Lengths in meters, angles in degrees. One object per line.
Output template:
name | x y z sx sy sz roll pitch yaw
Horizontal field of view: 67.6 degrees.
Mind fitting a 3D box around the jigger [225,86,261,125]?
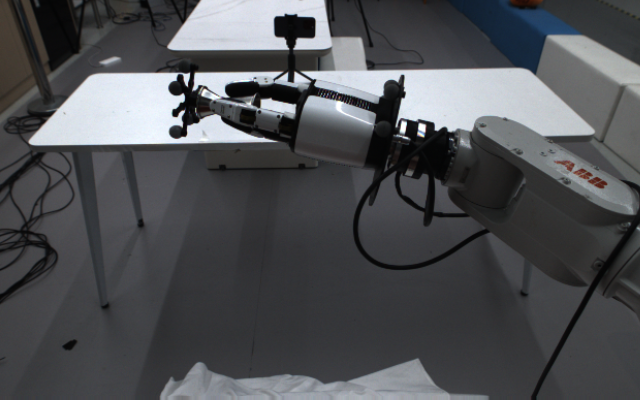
jigger | -0.104 -0.115 0.591 0.071 0.043 0.043 9 35 3
